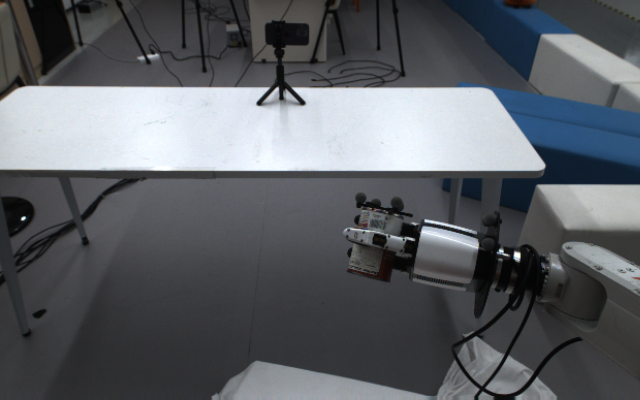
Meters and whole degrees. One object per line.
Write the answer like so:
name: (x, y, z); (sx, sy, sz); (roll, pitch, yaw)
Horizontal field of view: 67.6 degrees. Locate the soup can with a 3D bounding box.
soup can: (0.086, 0.068, 0.738); (0.067, 0.101, 0.067); (13, -6, 1)
